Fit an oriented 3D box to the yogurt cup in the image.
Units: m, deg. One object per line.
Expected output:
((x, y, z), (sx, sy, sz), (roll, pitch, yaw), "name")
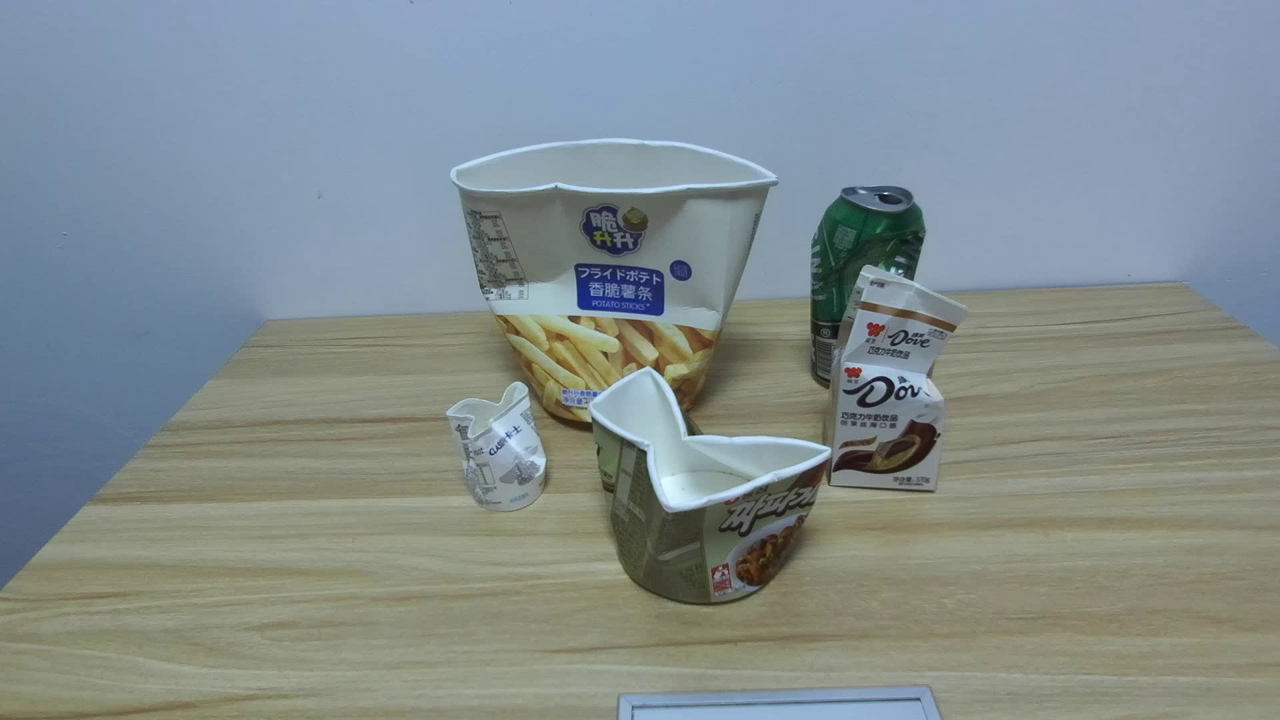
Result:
((-0.098, 0.061, 0.497), (0.055, 0.072, 0.055), (-21, 34, -22), "yogurt cup")

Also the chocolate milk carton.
((0.168, 0.007, 0.475), (0.076, 0.156, 0.073), (2, 35, 8), "chocolate milk carton")

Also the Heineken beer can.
((0.176, -0.056, 0.569), (0.077, 0.164, 0.066), (14, 35, 22), "Heineken beer can")

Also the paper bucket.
((-0.019, -0.062, 0.564), (0.218, 0.199, 0.147), (-12, 33, -13), "paper bucket")

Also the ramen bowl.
((0.034, 0.073, 0.439), (0.112, 0.093, 0.127), (-18, 35, -22), "ramen bowl")
